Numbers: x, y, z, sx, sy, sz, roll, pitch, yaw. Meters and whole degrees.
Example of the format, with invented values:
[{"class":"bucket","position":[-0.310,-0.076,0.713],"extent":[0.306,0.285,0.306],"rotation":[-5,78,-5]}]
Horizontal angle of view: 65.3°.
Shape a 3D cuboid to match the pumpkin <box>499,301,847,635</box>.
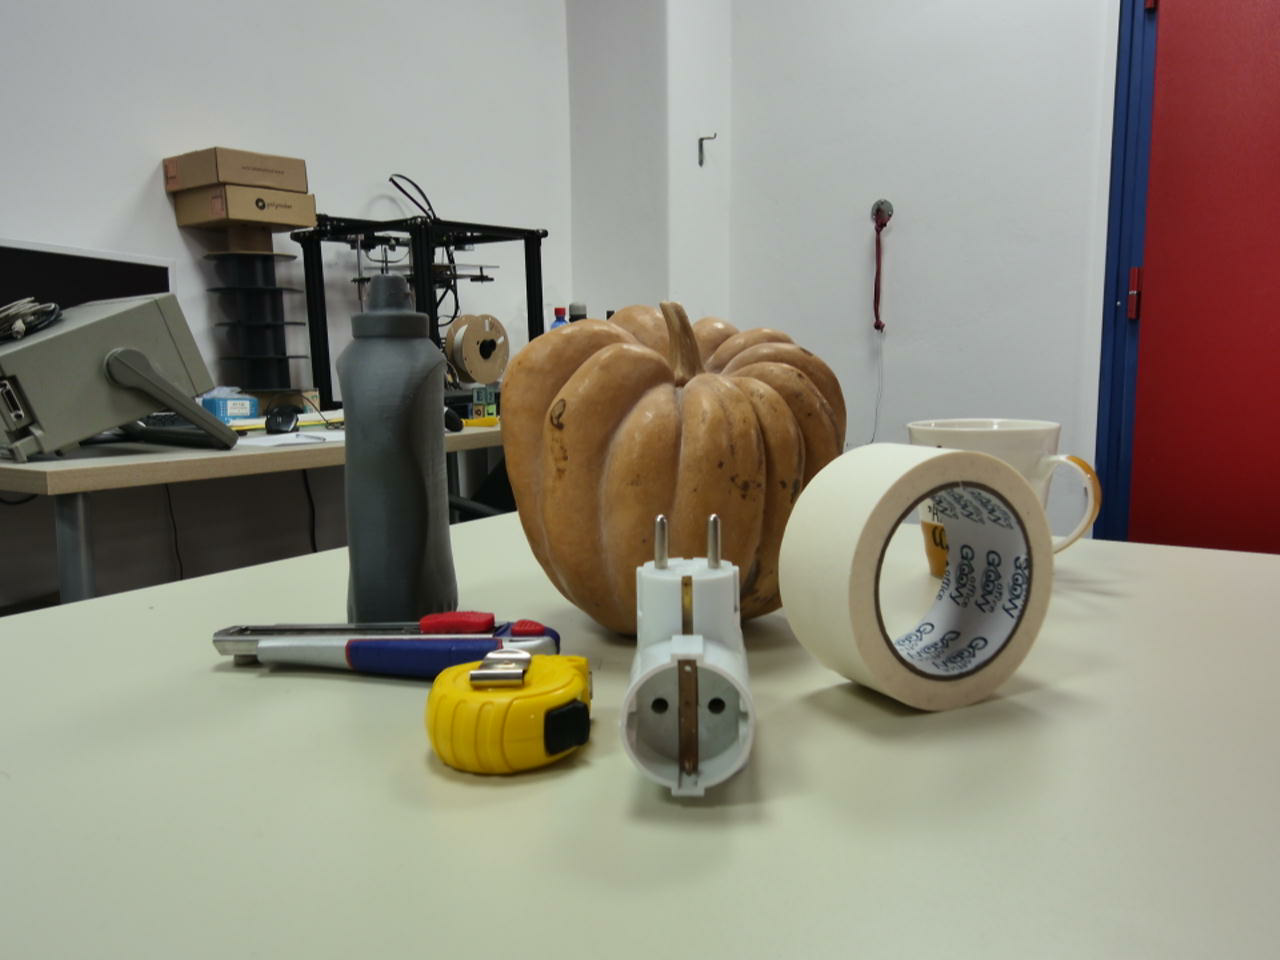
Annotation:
[{"class":"pumpkin","position":[0.017,-0.008,0.548],"extent":[0.199,0.177,0.198],"rotation":[-1,5,0]}]
